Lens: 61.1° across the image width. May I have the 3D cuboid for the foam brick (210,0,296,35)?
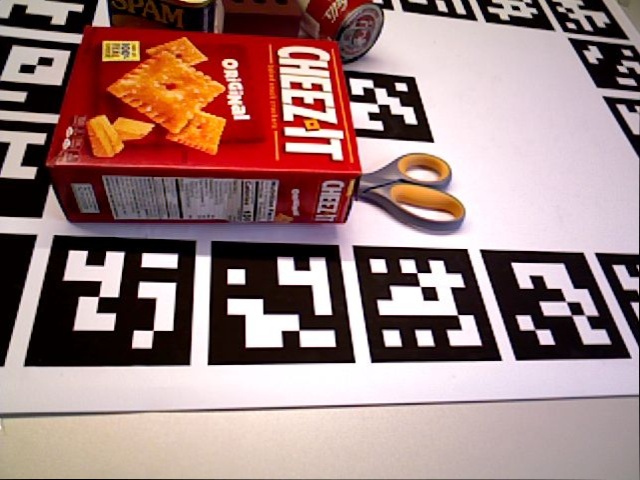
[{"bbox_3d":[-0.069,-0.215,0.549,0.077,0.052,0.052,-7,59,-17],"label":"foam brick"}]

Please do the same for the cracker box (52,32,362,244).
[{"bbox_3d":[-0.089,-0.088,0.428,0.211,0.073,0.162,-4,57,-11],"label":"cracker box"}]

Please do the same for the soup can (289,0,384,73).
[{"bbox_3d":[0.009,-0.235,0.578,0.066,0.069,0.102,-34,64,-30],"label":"soup can"}]

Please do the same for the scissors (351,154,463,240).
[{"bbox_3d":[0.019,-0.037,0.457,0.200,0.016,0.087,-2,58,-14],"label":"scissors"}]

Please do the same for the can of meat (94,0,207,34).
[{"bbox_3d":[-0.154,-0.203,0.498,0.101,0.086,0.057,14,55,-4],"label":"can of meat"}]
